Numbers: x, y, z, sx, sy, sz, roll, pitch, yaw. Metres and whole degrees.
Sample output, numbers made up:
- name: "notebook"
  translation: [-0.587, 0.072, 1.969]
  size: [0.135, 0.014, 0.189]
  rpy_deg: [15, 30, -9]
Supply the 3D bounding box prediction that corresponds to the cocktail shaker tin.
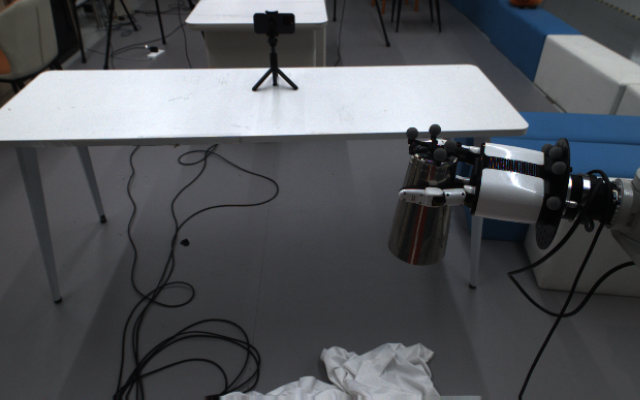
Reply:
- name: "cocktail shaker tin"
  translation: [0.162, 0.001, 0.739]
  size: [0.093, 0.170, 0.093]
  rpy_deg: [3, 33, -2]
